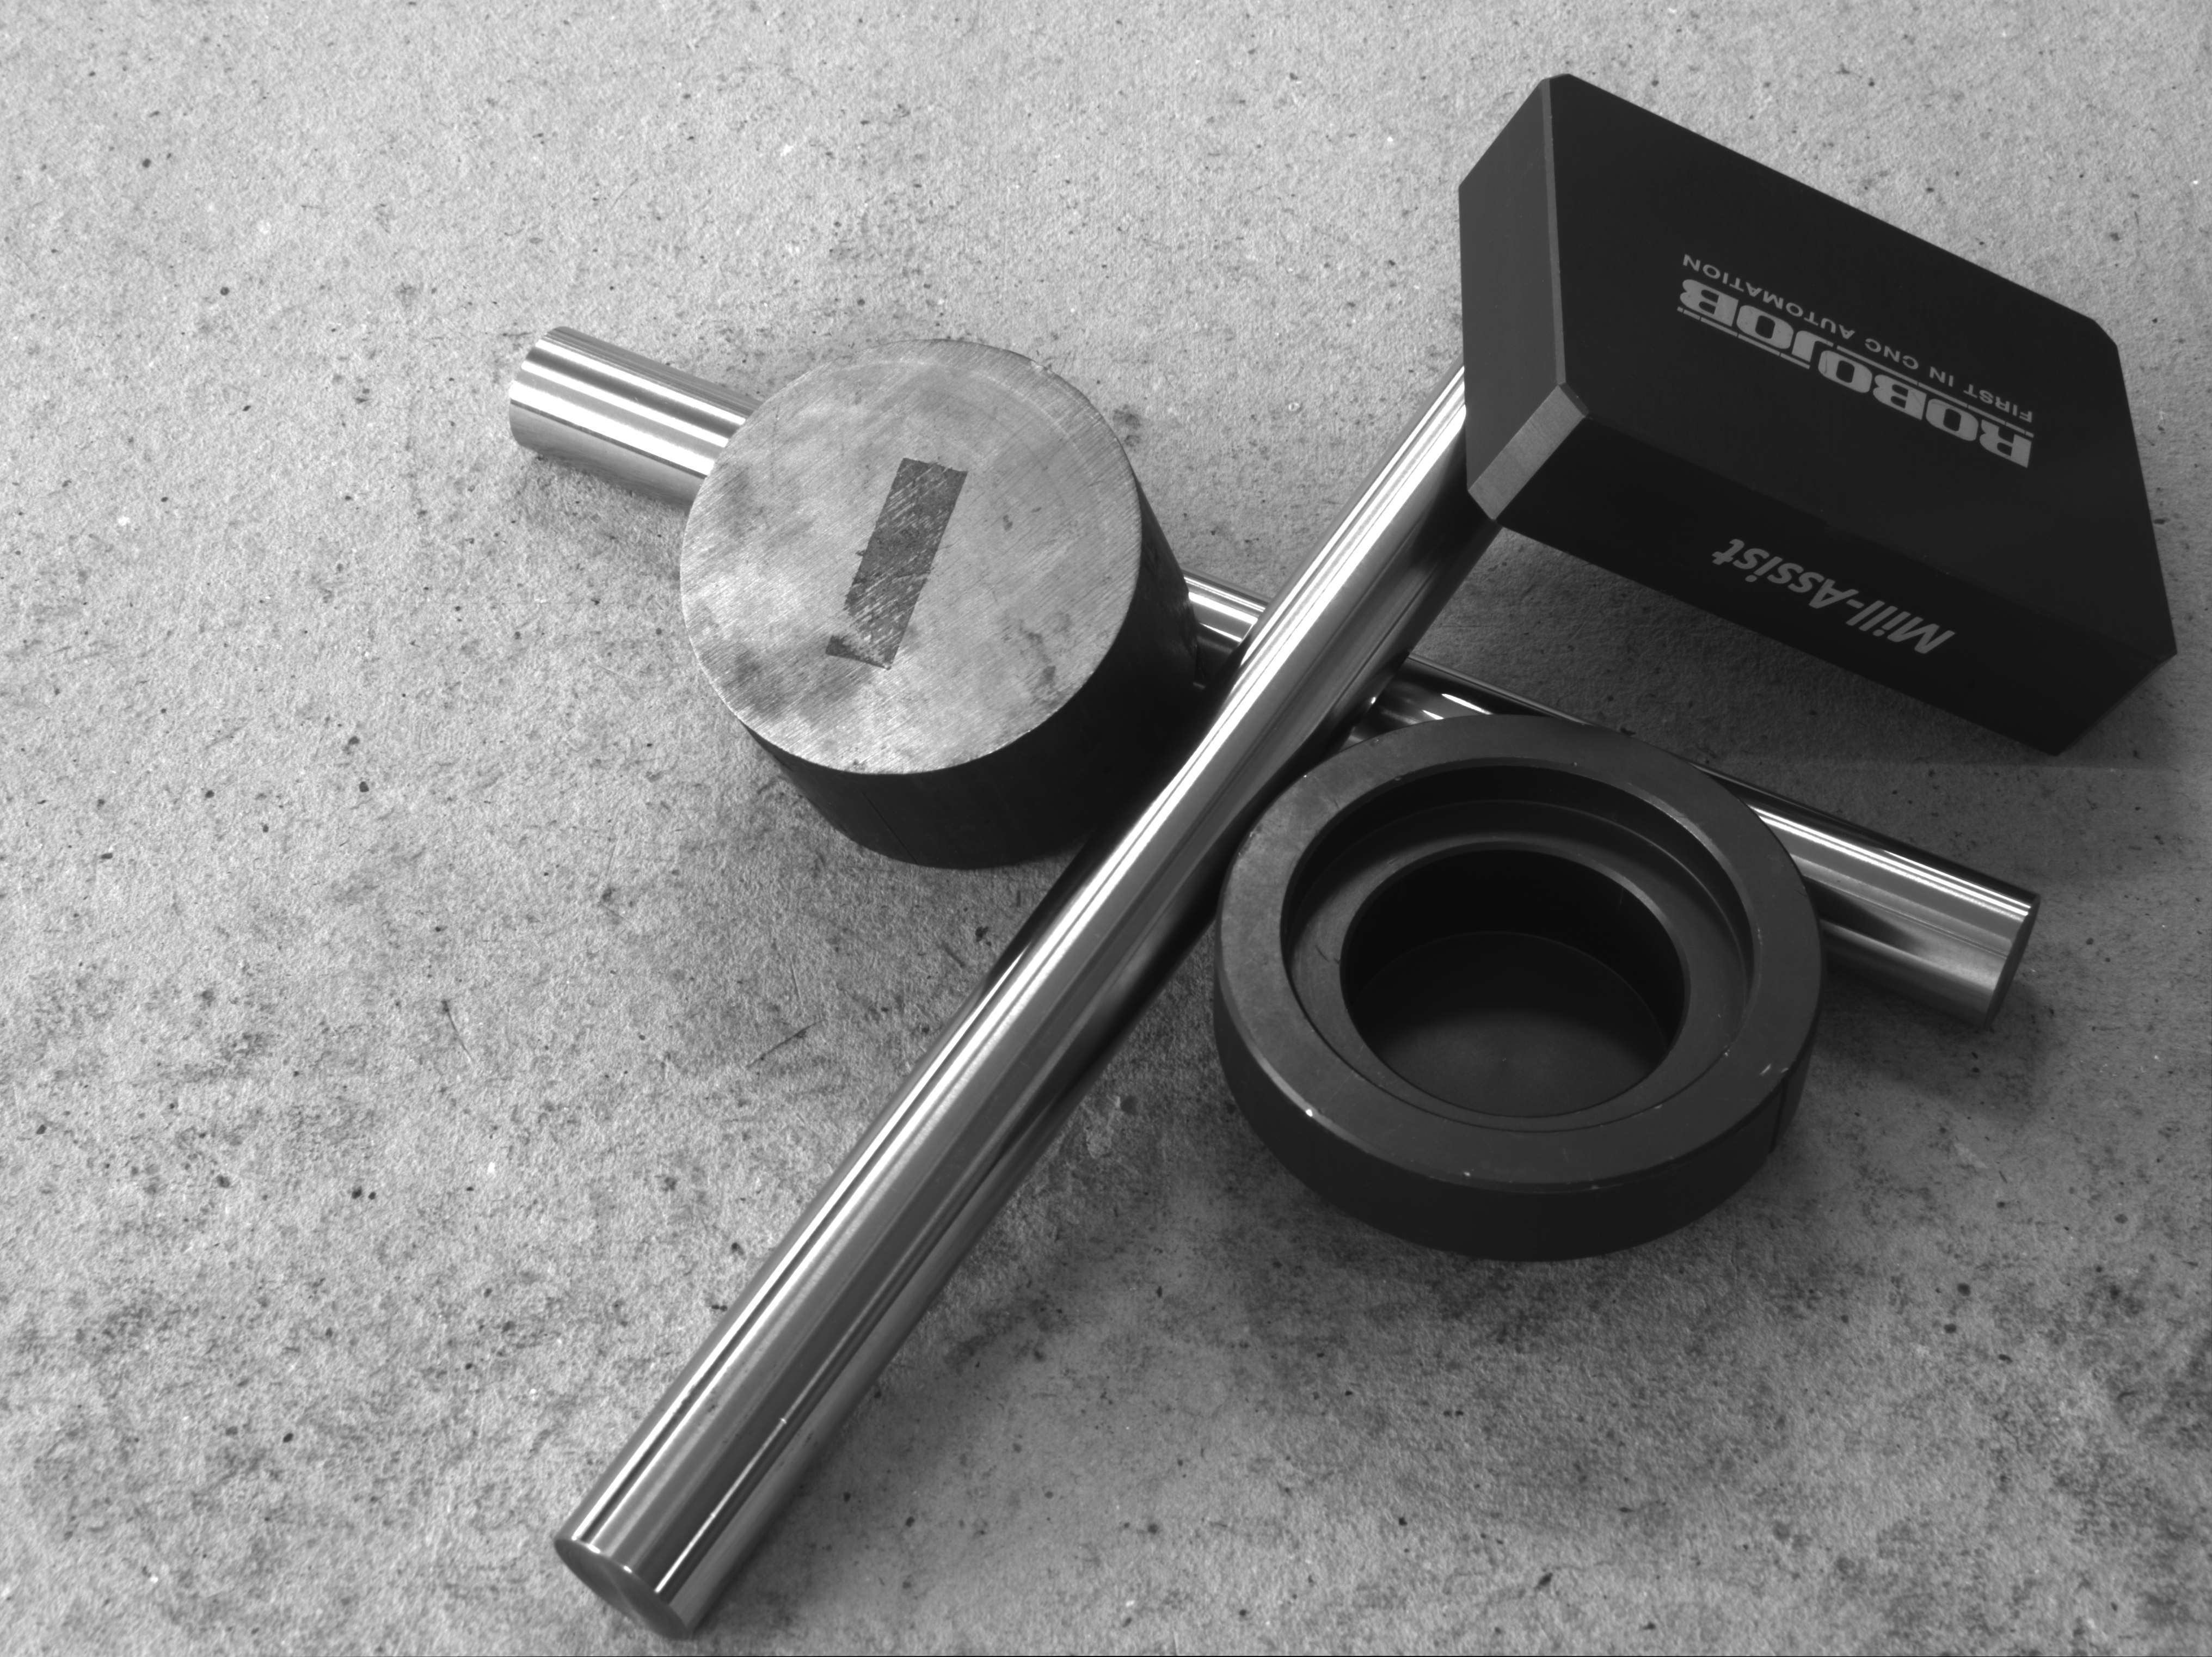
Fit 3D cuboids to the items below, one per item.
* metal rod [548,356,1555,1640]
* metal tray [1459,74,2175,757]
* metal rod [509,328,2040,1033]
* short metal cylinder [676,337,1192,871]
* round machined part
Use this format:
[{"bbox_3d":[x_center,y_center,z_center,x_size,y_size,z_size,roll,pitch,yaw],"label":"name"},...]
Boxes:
[{"bbox_3d":[0.009,0.006,0.615,0.025,0.025,0.300,26,61,21],"label":"metal rod"},{"bbox_3d":[0.128,-0.075,0.666,0.130,0.030,0.090,20,47,-20],"label":"metal tray"},{"bbox_3d":[0.023,-0.031,0.670,0.299,0.025,0.025,22,54,18],"label":"metal rod"},{"bbox_3d":[-0.029,-0.039,0.642,0.080,0.050,0.080,-4,70,11],"label":"short metal cylinder"},{"bbox_3d":[0.066,0.031,0.605,0.098,0.042,0.098,0,50,0],"label":"round machined part"}]
